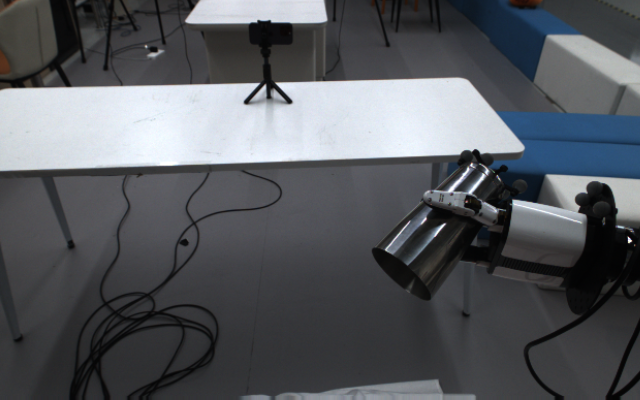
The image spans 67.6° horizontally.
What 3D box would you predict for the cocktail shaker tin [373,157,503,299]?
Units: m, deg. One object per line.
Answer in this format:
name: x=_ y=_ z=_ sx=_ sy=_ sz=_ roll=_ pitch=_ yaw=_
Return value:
cocktail shaker tin: x=0.155 y=0.026 z=0.608 sx=0.170 sy=0.093 sz=0.093 roll=-43 pitch=50 yaw=-15
